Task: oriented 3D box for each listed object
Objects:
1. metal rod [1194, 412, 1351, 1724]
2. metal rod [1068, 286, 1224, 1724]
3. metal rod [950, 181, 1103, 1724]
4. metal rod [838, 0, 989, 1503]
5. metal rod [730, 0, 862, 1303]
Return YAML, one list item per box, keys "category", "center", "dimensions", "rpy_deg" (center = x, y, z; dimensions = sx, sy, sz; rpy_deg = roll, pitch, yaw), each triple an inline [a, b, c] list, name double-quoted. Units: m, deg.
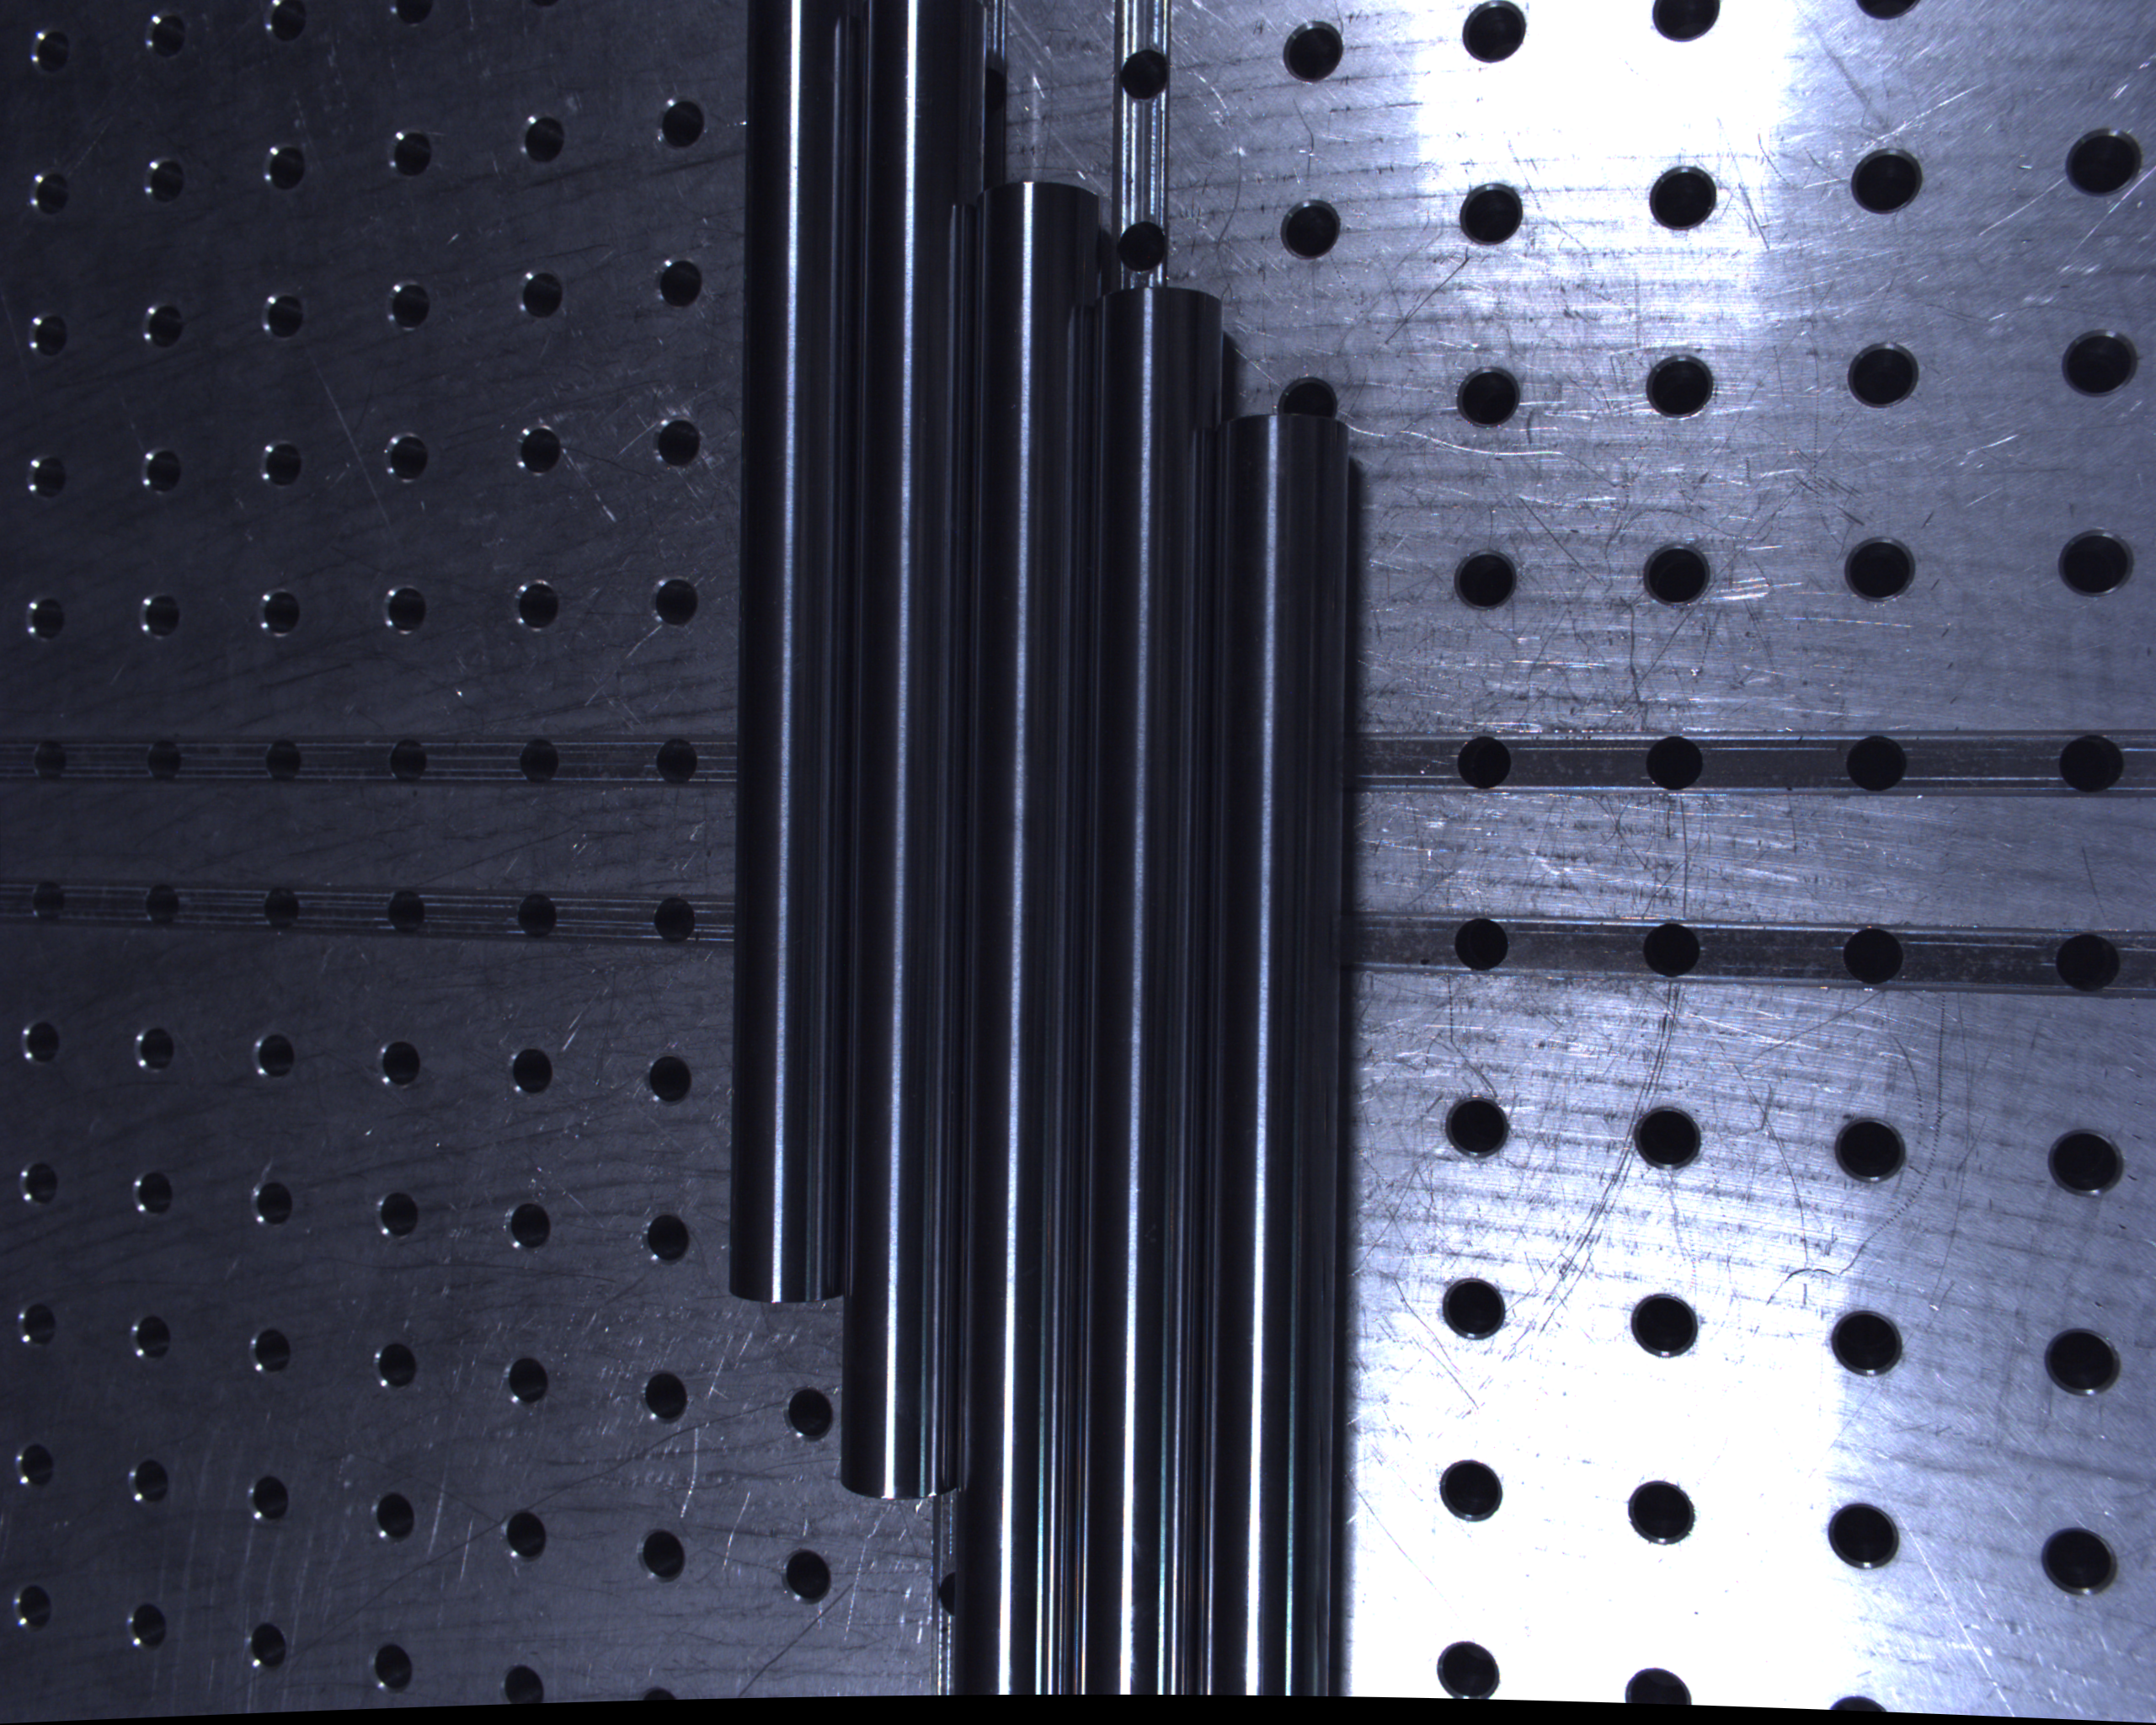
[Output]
- category: "metal rod"
  center: [0.037, 0.066, 0.398]
  dimensions: [0.025, 0.025, 0.298]
  rpy_deg: [1, 90, 19]
- category: "metal rod"
  center: [0.013, 0.040, 0.406]
  dimensions: [0.025, 0.025, 0.298]
  rpy_deg: [1, 90, 19]
- category: "metal rod"
  center: [-0.010, 0.018, 0.414]
  dimensions: [0.025, 0.025, 0.298]
  rpy_deg: [1, 90, 19]
- category: "metal rod"
  center: [-0.033, -0.023, 0.422]
  dimensions: [0.025, 0.025, 0.298]
  rpy_deg: [1, 90, 19]
- category: "metal rod"
  center: [-0.057, -0.060, 0.431]
  dimensions: [0.025, 0.025, 0.298]
  rpy_deg: [1, 90, 19]
